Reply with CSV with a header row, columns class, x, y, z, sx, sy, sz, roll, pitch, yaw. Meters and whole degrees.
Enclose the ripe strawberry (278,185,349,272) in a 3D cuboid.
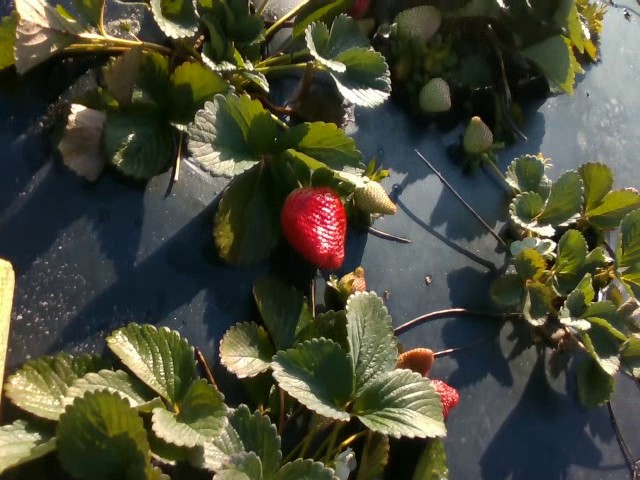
class,x,y,z,sx,sy,sz,roll,pitch,yaw
ripe strawberry,-0.001,-0.006,0.387,0.056,0.072,0.055,-32,-34,15
